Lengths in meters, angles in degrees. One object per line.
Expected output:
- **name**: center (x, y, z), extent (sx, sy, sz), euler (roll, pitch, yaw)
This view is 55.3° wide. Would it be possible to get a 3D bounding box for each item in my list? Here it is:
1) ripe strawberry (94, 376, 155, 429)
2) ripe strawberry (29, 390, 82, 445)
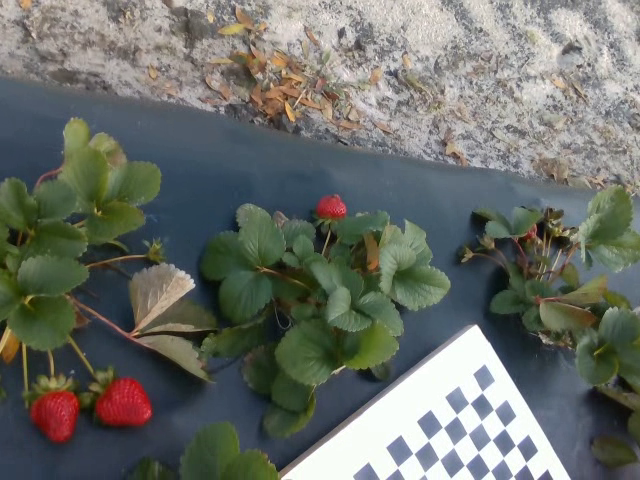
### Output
- **ripe strawberry**: center (-0.196, 0.168, 0.612), extent (0.064, 0.057, 0.051), euler (24, -33, 21)
- **ripe strawberry**: center (-0.255, 0.174, 0.590), extent (0.049, 0.055, 0.041), euler (-13, -36, -28)
